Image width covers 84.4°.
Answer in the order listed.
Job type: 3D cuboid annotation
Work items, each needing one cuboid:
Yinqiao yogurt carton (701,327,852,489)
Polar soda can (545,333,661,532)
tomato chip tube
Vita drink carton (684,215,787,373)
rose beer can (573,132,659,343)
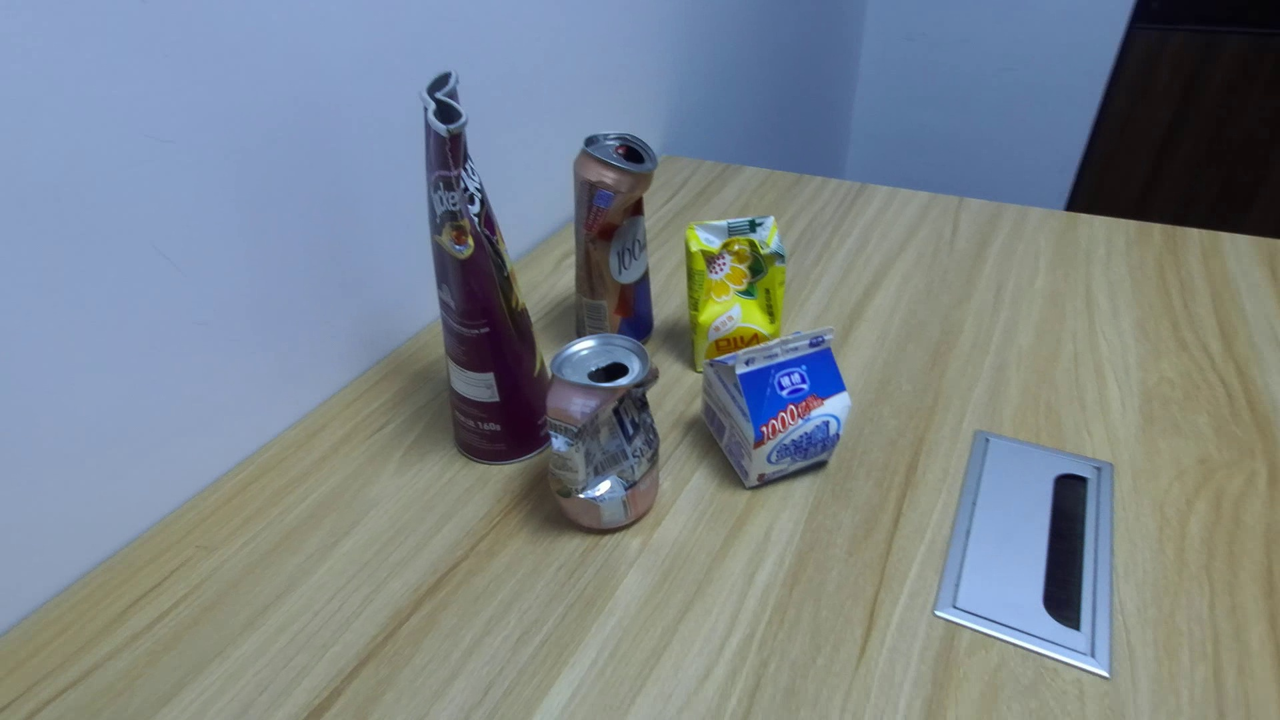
[{"bbox_3d":[0.088,0.022,0.444,0.074,0.097,0.080,-17,46,-16],"label":"Yinqiao yogurt carton"},{"bbox_3d":[-0.021,0.042,0.415,0.070,0.114,0.074,-6,38,-12],"label":"Polar soda can"},{"bbox_3d":[-0.099,-0.044,0.438,0.077,0.236,0.090,17,39,23],"label":"tomato chip tube"},{"bbox_3d":[0.072,-0.046,0.528,0.071,0.110,0.046,-4,32,1],"label":"Vita drink carton"},{"bbox_3d":[-0.021,-0.086,0.546,0.070,0.168,0.069,-14,38,-20],"label":"rose beer can"}]
